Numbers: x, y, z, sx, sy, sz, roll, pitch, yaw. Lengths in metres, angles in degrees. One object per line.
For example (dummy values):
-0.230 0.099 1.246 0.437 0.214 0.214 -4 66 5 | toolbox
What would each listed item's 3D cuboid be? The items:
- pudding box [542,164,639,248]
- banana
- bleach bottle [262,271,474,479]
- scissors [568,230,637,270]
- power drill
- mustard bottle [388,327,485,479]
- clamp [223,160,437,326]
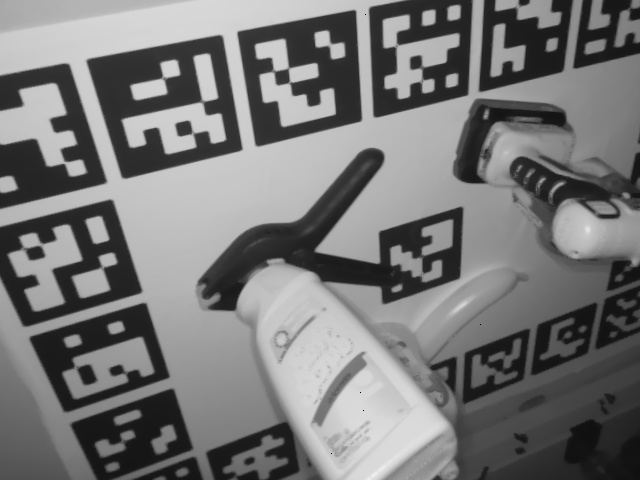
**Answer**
0.309 -0.036 0.735 0.115 0.090 0.038 -12 129 -16 | pudding box
0.193 0.117 0.796 0.196 0.038 0.075 -49 142 8 | banana
0.011 0.101 0.568 0.103 0.249 0.068 -35 130 -9 | bleach bottle
0.339 -0.002 0.689 0.205 0.016 0.087 9 110 -23 | scissors
0.270 -0.053 0.613 0.187 0.187 0.057 -6 128 -24 | power drill
0.112 0.166 0.708 0.097 0.191 0.058 -3 120 -20 | mustard bottle
0.007 0.028 0.653 0.204 0.036 0.164 -21 122 -10 | clamp
